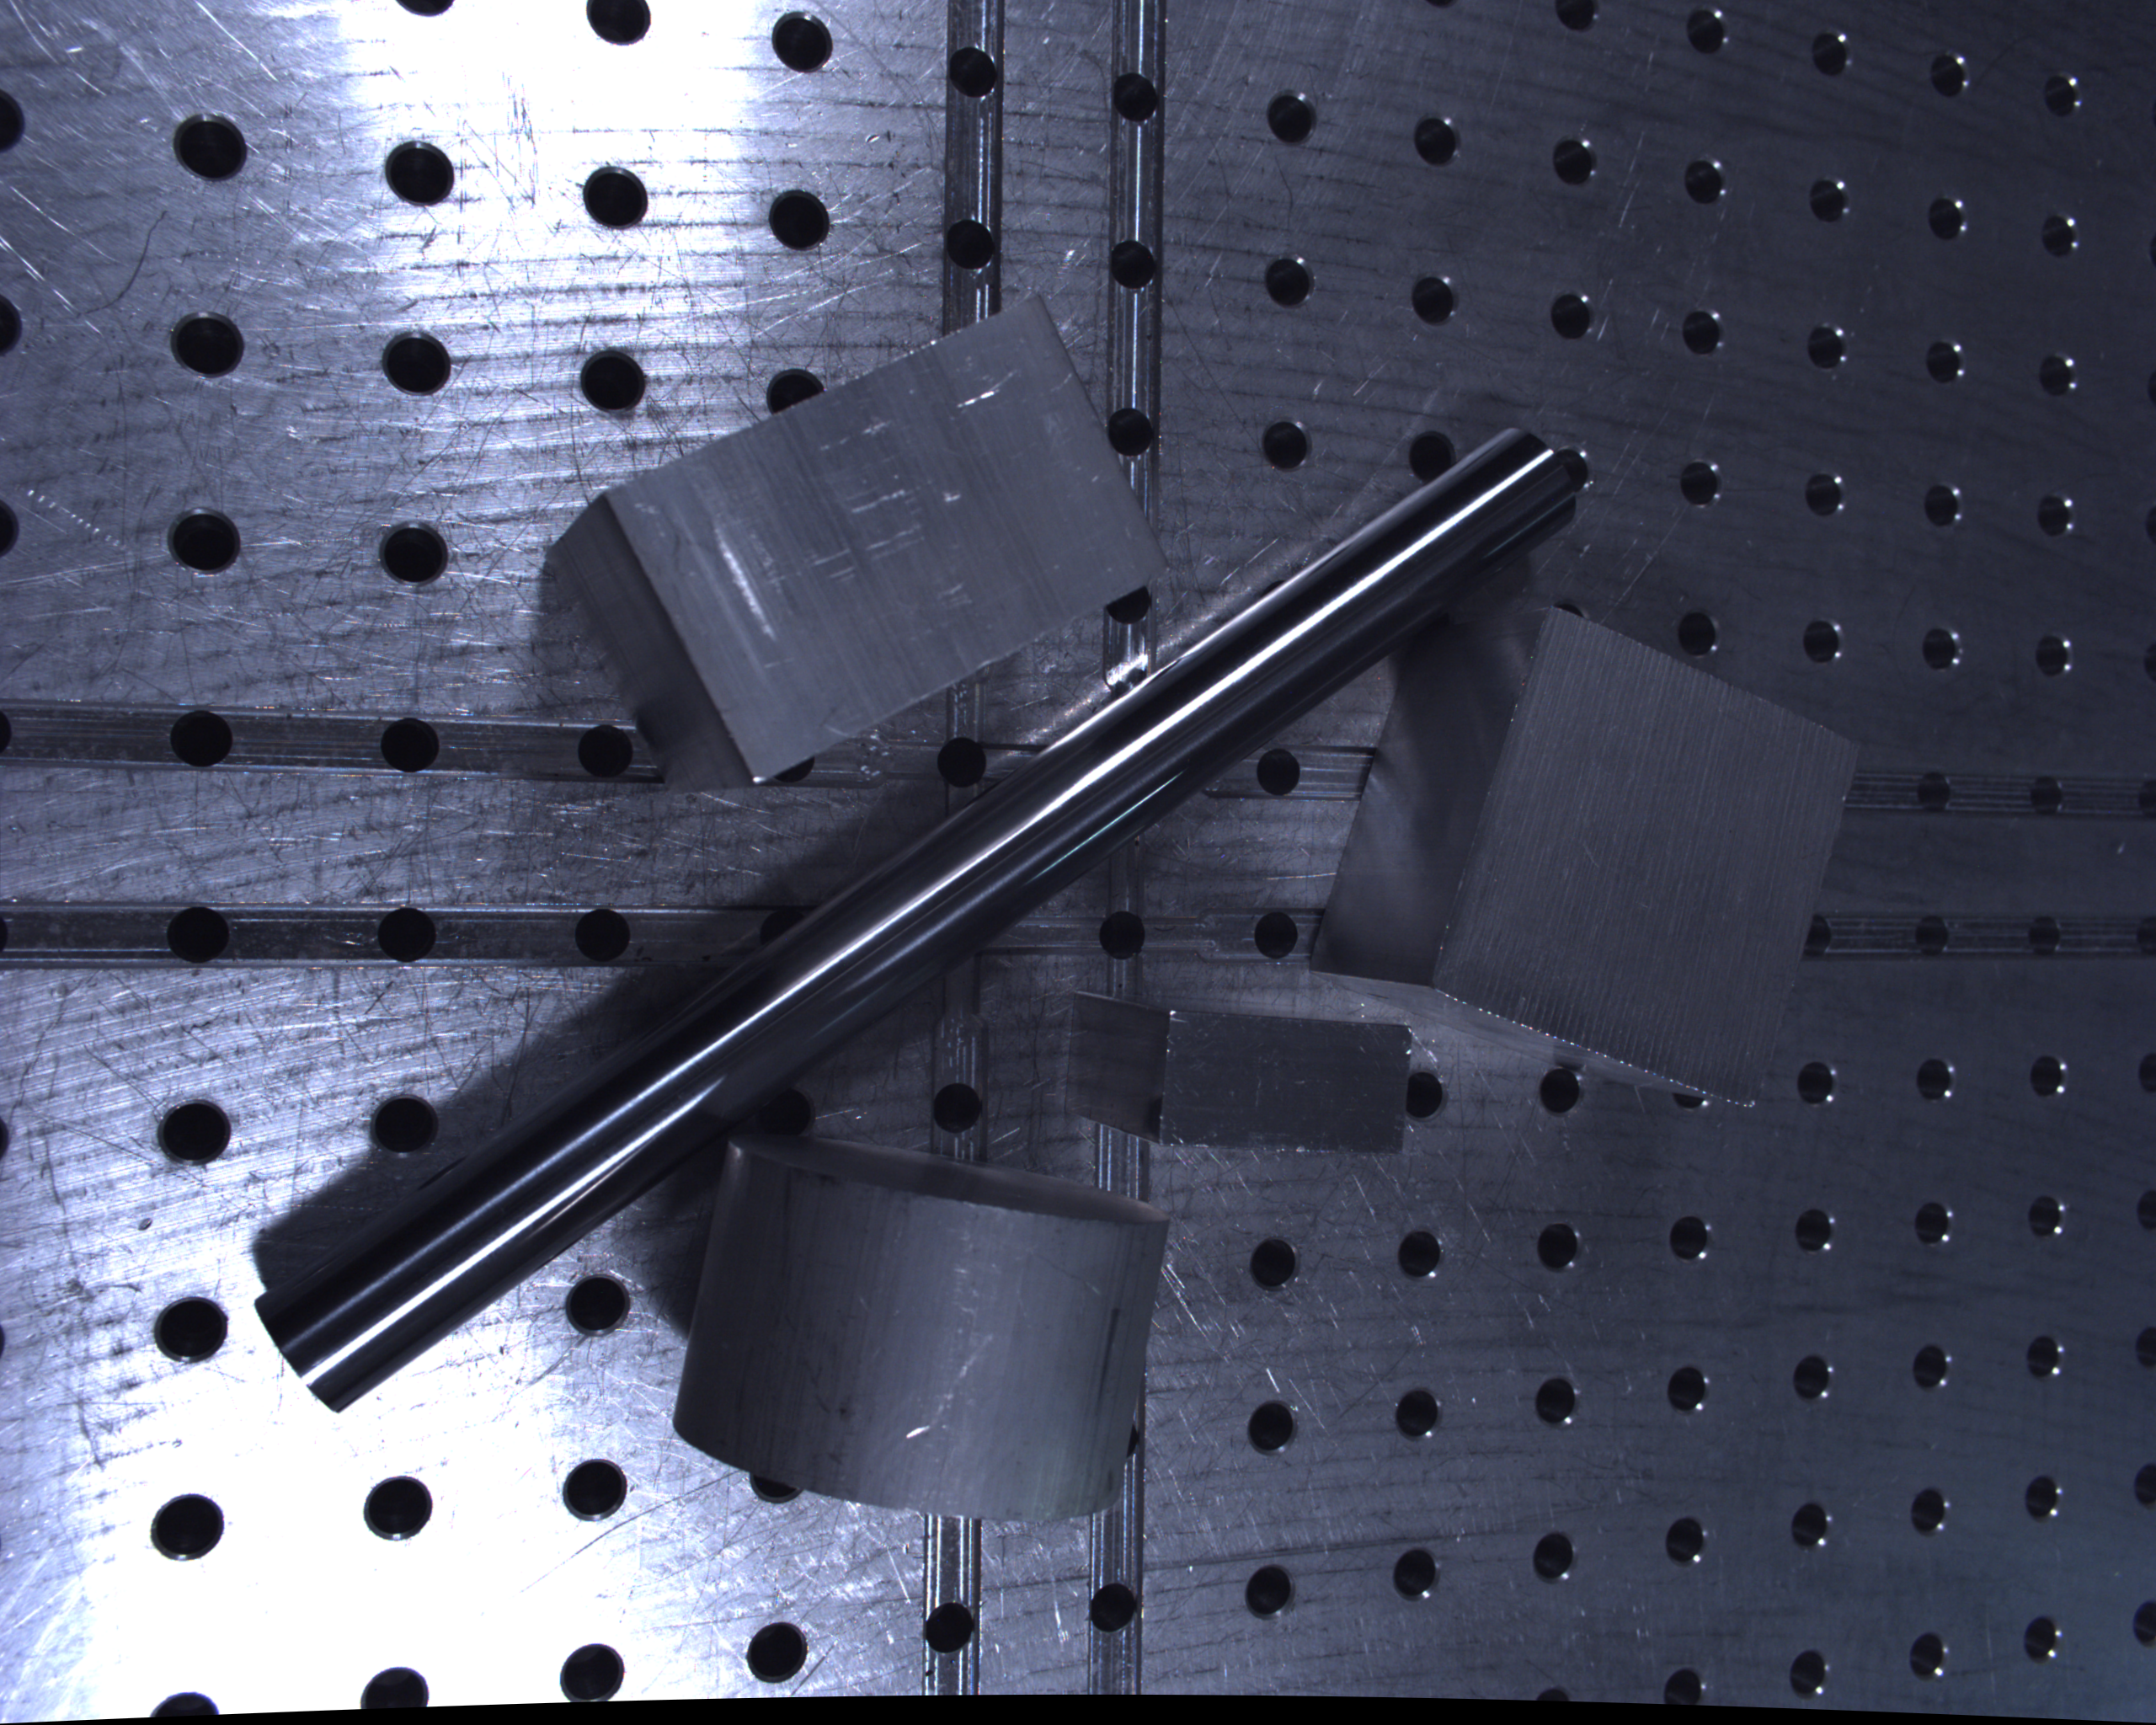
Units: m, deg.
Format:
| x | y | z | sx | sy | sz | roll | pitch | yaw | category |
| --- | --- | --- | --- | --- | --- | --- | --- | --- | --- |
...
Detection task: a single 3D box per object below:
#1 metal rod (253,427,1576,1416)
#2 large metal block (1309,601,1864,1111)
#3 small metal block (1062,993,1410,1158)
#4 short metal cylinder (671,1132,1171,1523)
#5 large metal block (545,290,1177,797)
| x | y | z | sx | sy | sz | roll | pitch | yaw | category |
| --- | --- | --- | --- | --- | --- | --- | --- | --- | --- |
| -0.019 | 0.002 | 0.406 | 0.301 | 0.025 | 0.025 | -36 | 102 | -17 | metal rod |
| 0.106 | 0.000 | 0.437 | 0.080 | 0.050 | 0.080 | 21 | 83 | -19 | large metal block |
| 0.030 | 0.041 | 0.412 | 0.050 | 0.050 | 0.025 | 5 | 88 | -20 | small metal block |
| -0.028 | 0.081 | 0.373 | 0.081 | 0.080 | 0.050 | 12 | 86 | -20 | short metal cylinder |
| -0.042 | -0.053 | 0.369 | 0.080 | 0.080 | 0.050 | -30 | 100 | -18 | large metal block |
